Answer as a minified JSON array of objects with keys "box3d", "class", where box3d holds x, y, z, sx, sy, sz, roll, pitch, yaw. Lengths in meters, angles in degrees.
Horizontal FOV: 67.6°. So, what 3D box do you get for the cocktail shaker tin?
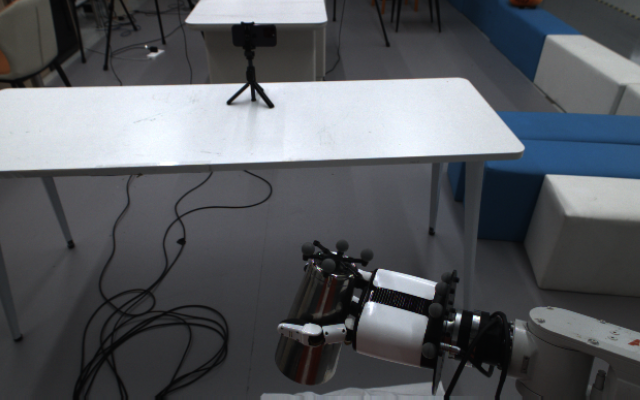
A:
[{"box3d":[0.001,0.157,0.669,0.093,0.170,0.093,11,24,-5],"class":"cocktail shaker tin"}]
